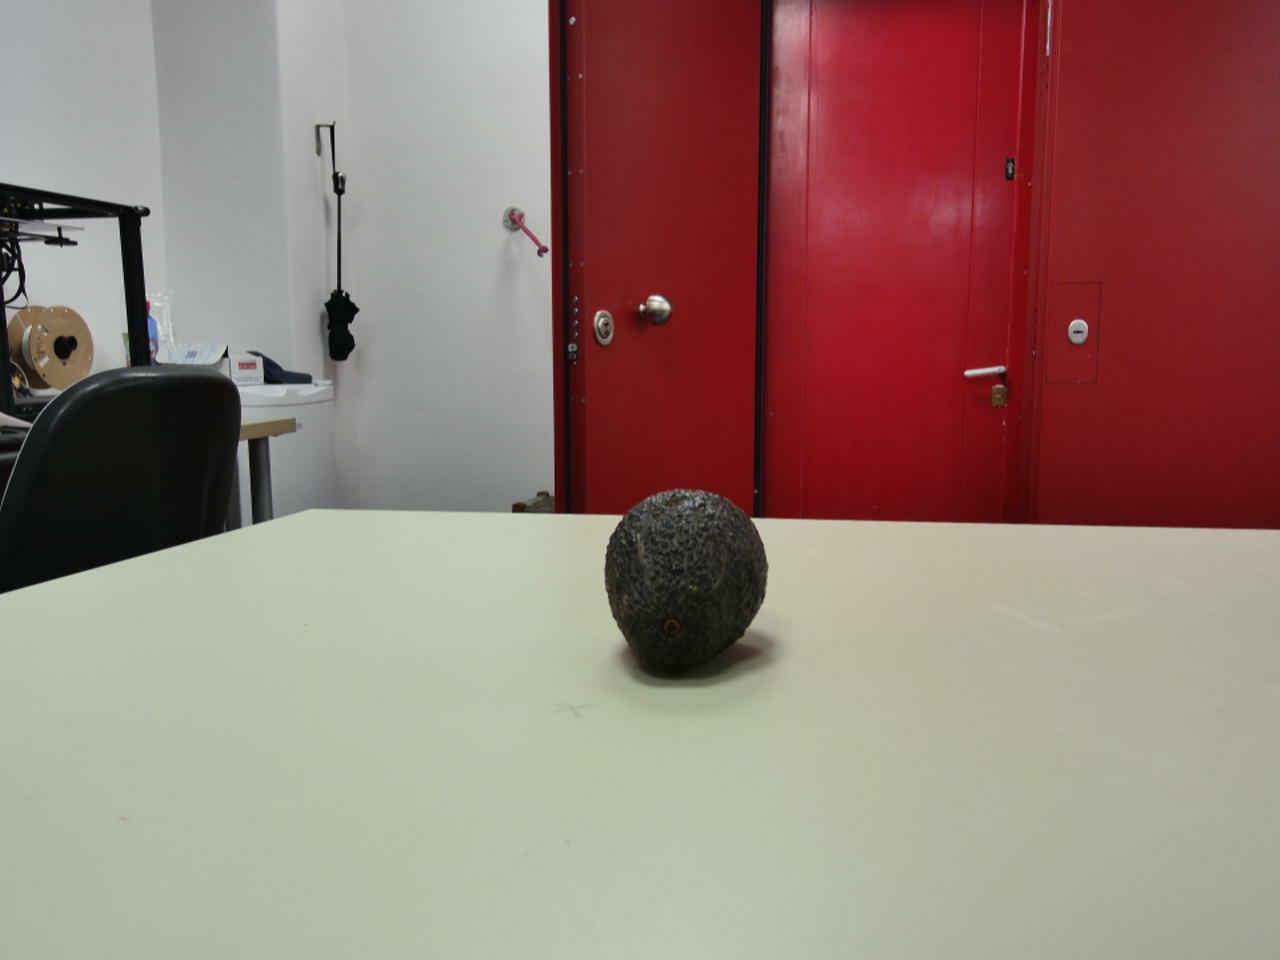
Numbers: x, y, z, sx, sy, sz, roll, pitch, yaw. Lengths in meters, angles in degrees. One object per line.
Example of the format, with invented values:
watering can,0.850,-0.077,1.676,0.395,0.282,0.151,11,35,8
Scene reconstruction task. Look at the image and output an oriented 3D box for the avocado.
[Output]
avocado,0.016,0.039,0.421,0.070,0.069,0.090,4,5,37
